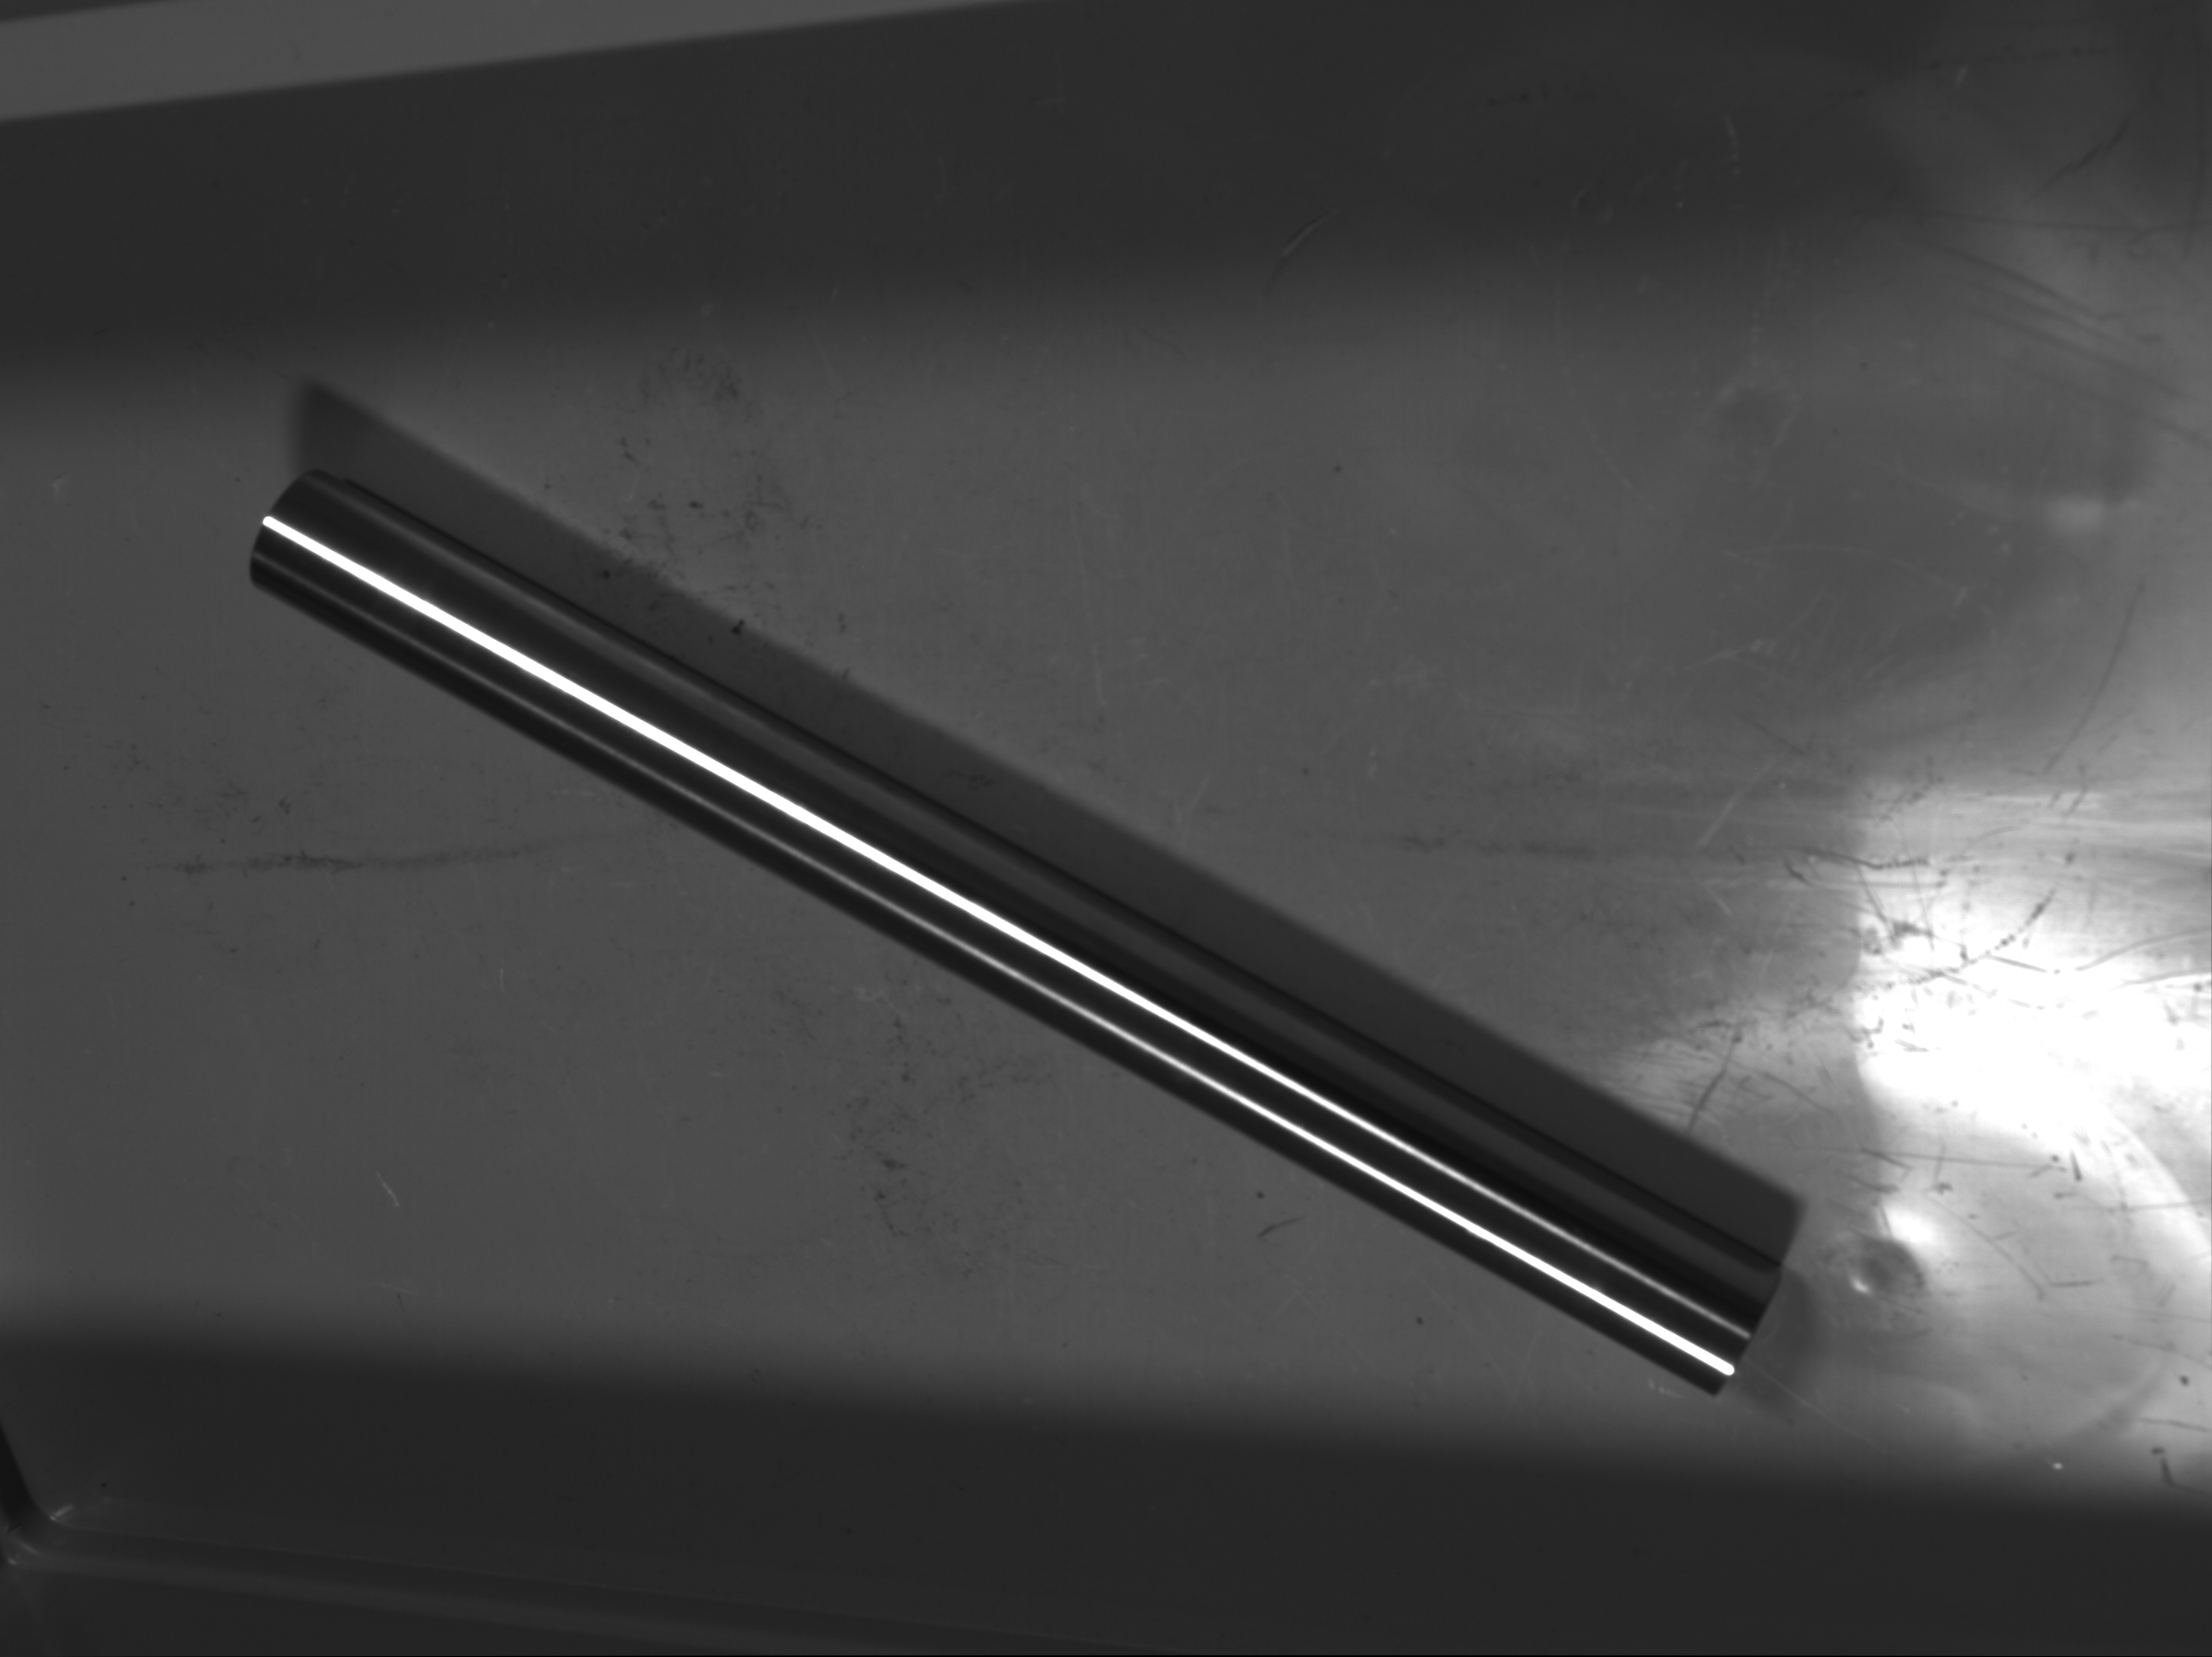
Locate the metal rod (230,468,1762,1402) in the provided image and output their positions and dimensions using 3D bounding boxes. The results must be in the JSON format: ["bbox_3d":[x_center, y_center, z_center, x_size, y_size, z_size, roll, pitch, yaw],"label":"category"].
[{"bbox_3d":[-0.023,0.016,0.650,0.300,0.025,0.025,29,127,9],"label":"metal rod"}]
